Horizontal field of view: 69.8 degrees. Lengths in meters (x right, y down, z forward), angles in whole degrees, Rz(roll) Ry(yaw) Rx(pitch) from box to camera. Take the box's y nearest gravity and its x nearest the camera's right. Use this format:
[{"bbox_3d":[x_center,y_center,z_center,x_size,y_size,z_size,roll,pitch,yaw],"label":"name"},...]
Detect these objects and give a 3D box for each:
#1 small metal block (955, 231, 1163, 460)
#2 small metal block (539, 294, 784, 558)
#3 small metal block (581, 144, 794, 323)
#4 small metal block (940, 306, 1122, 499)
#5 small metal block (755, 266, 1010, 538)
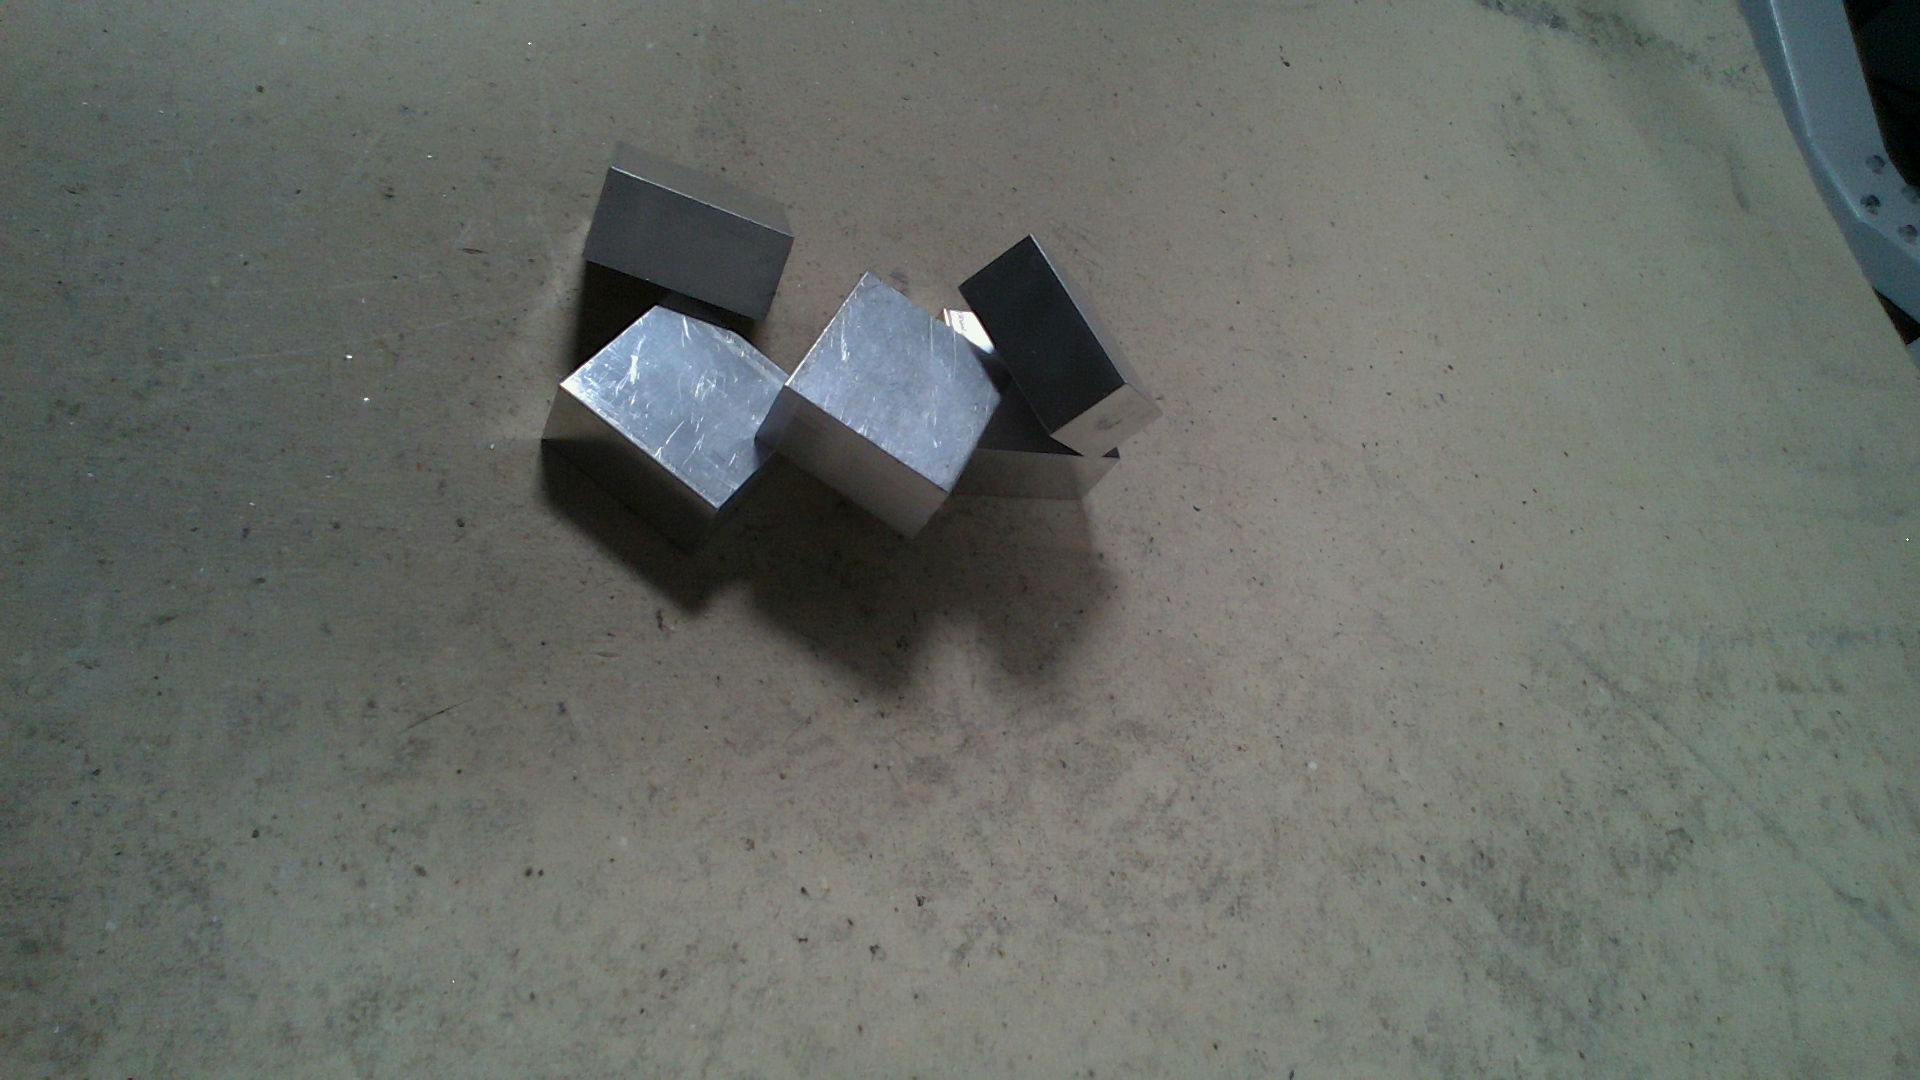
[{"bbox_3d":[0.029,-0.053,0.390,0.050,0.025,0.050,59,14,14],"label":"small metal block"},{"bbox_3d":[-0.074,-0.032,0.369,0.050,0.025,0.050,39,51,-2],"label":"small metal block"},{"bbox_3d":[-0.077,-0.087,0.387,0.050,0.025,0.050,17,18,-18],"label":"small metal block"},{"bbox_3d":[0.017,-0.042,0.424,0.050,0.025,0.050,2,61,-27],"label":"small metal block"},{"bbox_3d":[-0.019,-0.037,0.369,0.050,0.025,0.050,33,51,-7],"label":"small metal block"}]
